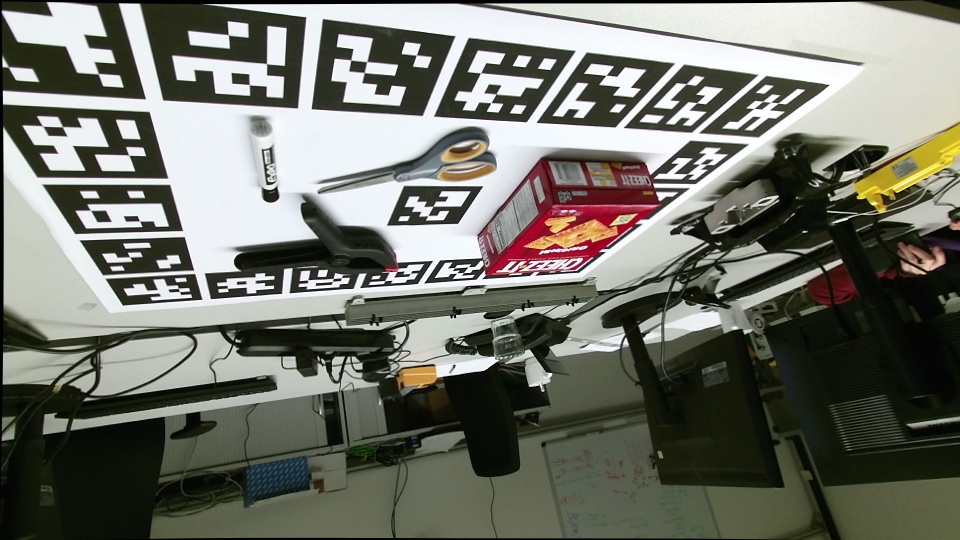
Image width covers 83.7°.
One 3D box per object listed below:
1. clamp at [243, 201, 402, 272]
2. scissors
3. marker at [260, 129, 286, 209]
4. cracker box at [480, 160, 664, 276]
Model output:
[{"bbox_3d":[-0.185,-0.029,0.730,0.166,0.036,0.203,-25,156,33],"label":"clamp"},{"bbox_3d":[-0.073,-0.103,0.589,0.203,0.016,0.088,-13,161,5],"label":"scissors"},{"bbox_3d":[-0.202,-0.094,0.527,0.020,0.019,0.121,-6,159,-21],"label":"marker"},{"bbox_3d":[0.118,-0.064,0.743,0.165,0.071,0.214,-4,158,-25],"label":"cracker box"}]
